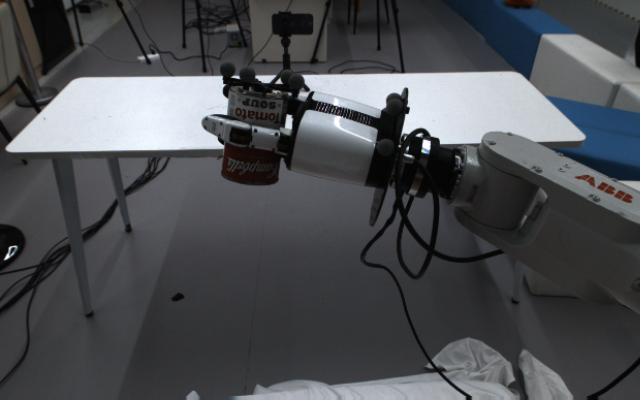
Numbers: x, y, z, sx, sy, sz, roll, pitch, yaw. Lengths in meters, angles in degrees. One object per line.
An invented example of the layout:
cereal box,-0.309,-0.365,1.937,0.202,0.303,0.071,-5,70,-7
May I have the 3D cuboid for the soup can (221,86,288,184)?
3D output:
soup can,-0.073,-0.074,0.550,0.067,0.101,0.067,9,19,-3
